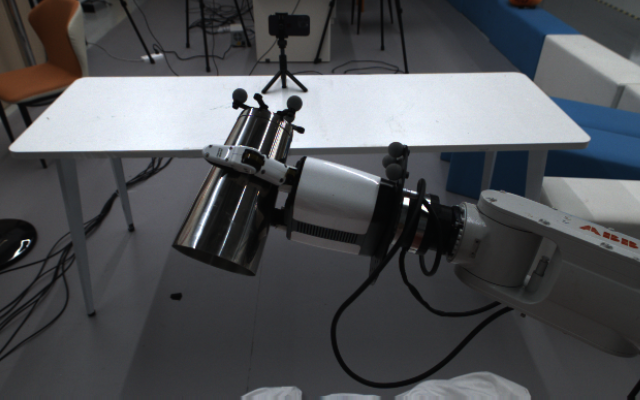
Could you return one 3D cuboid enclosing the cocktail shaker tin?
[{"bbox_3d":[-0.086,-0.012,0.533,0.093,0.093,0.170,13,71,15],"label":"cocktail shaker tin"}]
